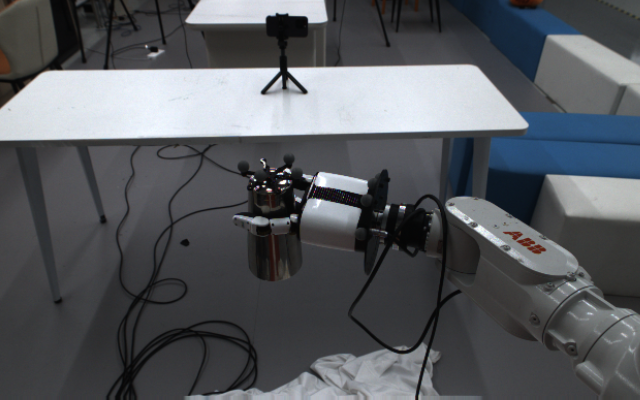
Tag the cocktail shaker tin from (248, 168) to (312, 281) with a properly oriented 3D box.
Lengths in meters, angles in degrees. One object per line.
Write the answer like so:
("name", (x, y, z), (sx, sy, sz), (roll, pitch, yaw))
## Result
("cocktail shaker tin", (-0.071, 0.033, 0.768), (0.093, 0.170, 0.093), (1, 39, -1))
